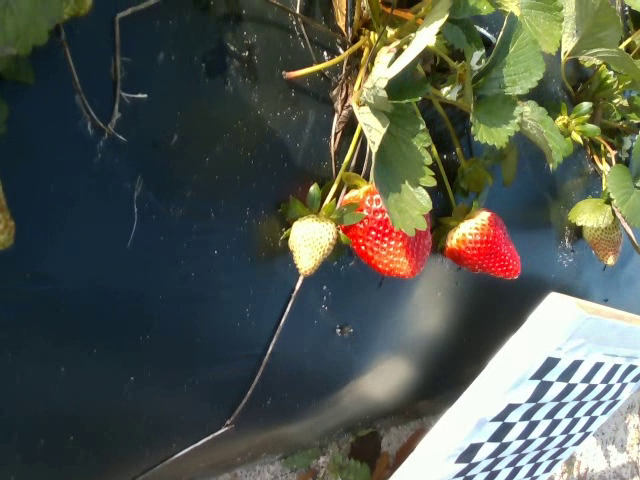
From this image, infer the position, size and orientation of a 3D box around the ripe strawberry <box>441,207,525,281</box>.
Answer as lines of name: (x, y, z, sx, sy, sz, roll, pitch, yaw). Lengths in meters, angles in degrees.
ripe strawberry: (0.076, 0.004, 0.263, 0.037, 0.039, 0.033, -40, -19, 17)

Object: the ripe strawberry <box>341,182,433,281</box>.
ripe strawberry: (0.028, -0.004, 0.213, 0.035, 0.036, 0.041, 0, -29, -33)
